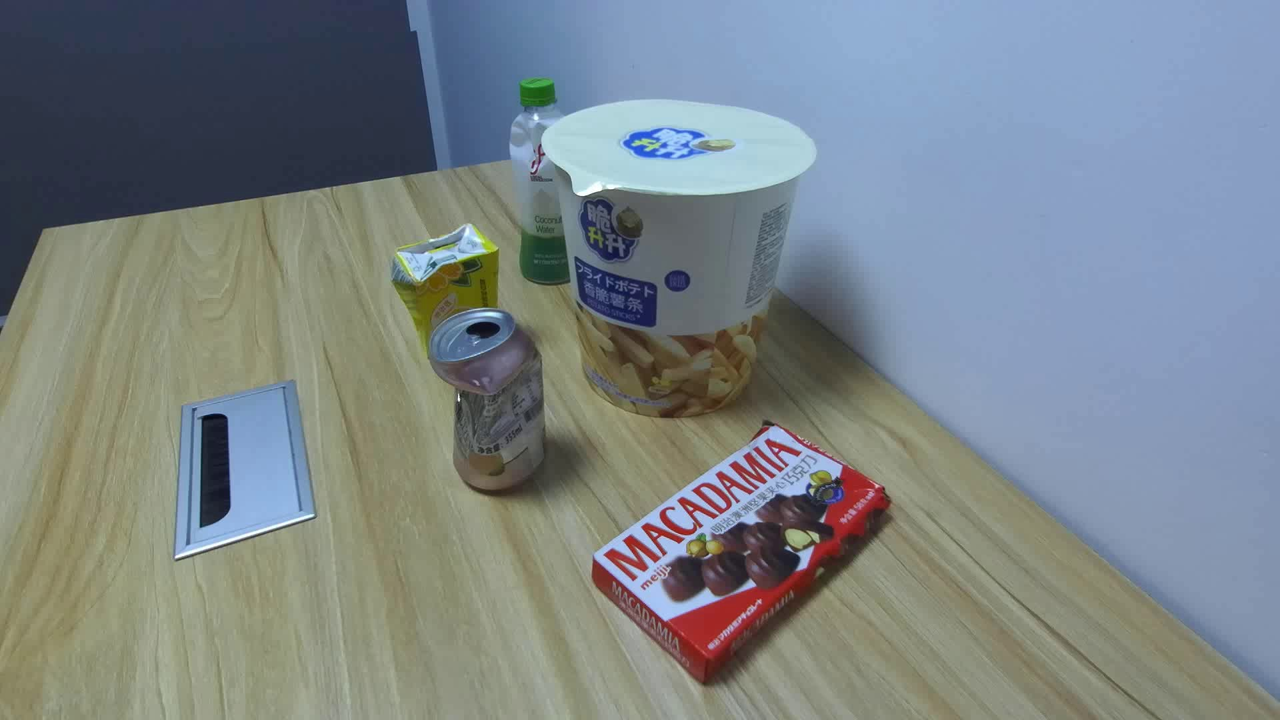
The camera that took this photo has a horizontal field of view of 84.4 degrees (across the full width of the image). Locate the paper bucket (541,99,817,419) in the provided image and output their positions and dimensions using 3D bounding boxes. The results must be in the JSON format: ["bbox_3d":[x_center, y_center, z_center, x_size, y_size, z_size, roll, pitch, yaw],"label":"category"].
[{"bbox_3d":[0.027,-0.075,0.545,0.198,0.195,0.198,1,36,0],"label":"paper bucket"}]

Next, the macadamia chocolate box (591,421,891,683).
[{"bbox_3d":[0.068,0.108,0.444,0.183,0.028,0.105,-30,47,-35],"label":"macadamia chocolate box"}]

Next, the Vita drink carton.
[{"bbox_3d":[-0.157,-0.053,0.590,0.087,0.108,0.042,-16,53,-17],"label":"Vita drink carton"}]

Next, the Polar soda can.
[{"bbox_3d":[-0.104,0.028,0.473,0.071,0.122,0.066,12,43,17],"label":"Polar soda can"}]
